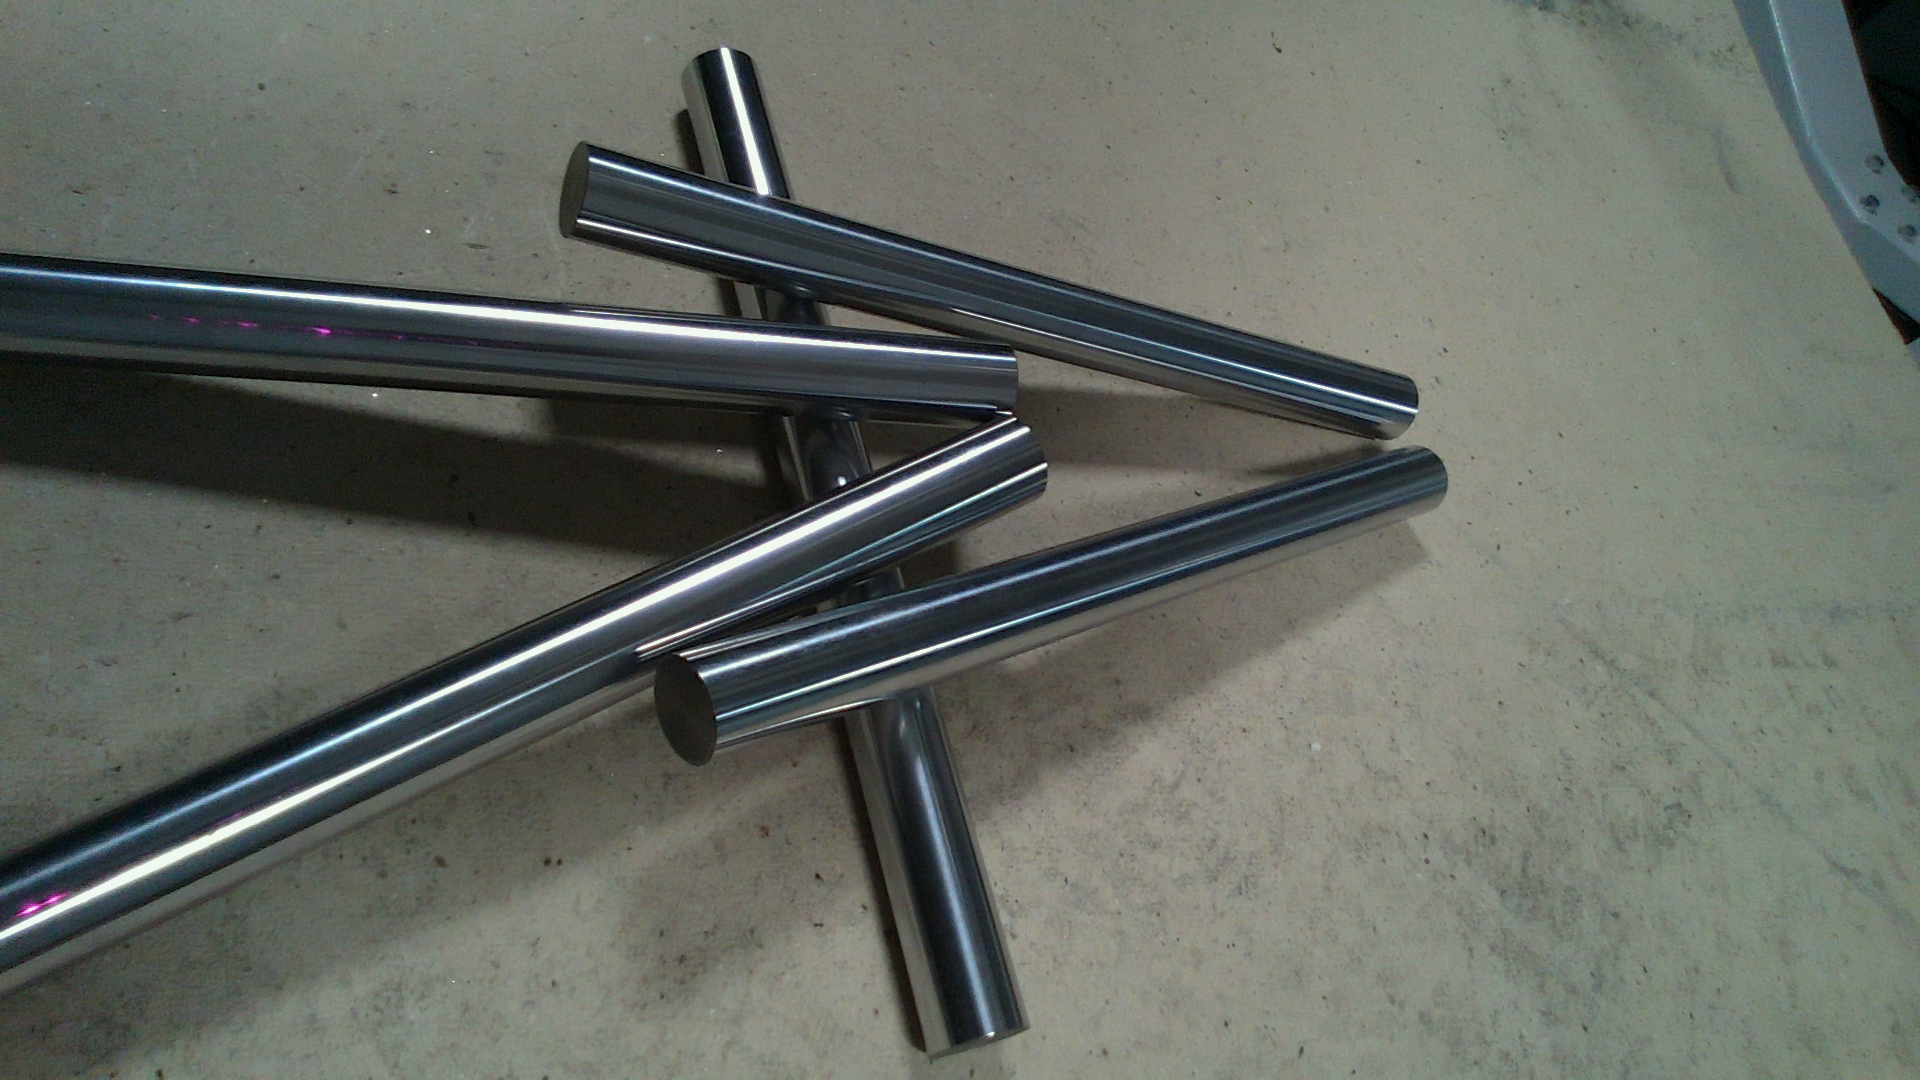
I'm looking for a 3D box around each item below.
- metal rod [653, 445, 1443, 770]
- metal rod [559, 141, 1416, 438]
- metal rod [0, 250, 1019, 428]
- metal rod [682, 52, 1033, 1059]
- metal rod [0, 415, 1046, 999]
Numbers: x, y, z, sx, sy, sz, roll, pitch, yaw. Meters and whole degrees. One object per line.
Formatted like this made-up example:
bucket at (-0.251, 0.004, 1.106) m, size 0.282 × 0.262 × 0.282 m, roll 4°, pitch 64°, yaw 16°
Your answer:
metal rod at (0.051, 0.007, 0.392) m, size 0.301 × 0.025 × 0.025 m, roll -15°, pitch 69°, yaw -41°
metal rod at (0.029, -0.069, 0.427) m, size 0.301 × 0.025 × 0.025 m, roll 9°, pitch 57°, yaw -31°
metal rod at (-0.129, -0.048, 0.332) m, size 0.301 × 0.025 × 0.025 m, roll 2°, pitch 60°, yaw -21°
metal rod at (-0.036, -0.014, 0.379) m, size 0.025 × 0.025 × 0.300 m, roll -3°, pitch 63°, yaw -30°
metal rod at (-0.101, 0.034, 0.297) m, size 0.301 × 0.025 × 0.025 m, roll -26°, pitch 76°, yaw -31°
